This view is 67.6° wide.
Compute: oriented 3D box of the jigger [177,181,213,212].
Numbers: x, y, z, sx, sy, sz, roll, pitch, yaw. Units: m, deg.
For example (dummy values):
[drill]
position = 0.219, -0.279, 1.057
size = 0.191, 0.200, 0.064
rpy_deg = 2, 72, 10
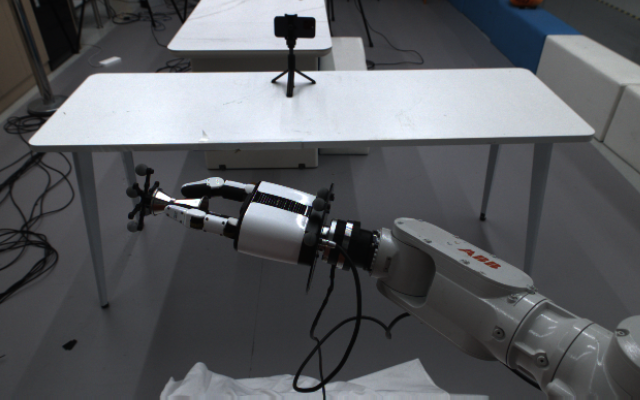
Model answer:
[jigger]
position = -0.189, 0.007, 0.677
size = 0.071, 0.043, 0.043
rpy_deg = 11, 35, 2
